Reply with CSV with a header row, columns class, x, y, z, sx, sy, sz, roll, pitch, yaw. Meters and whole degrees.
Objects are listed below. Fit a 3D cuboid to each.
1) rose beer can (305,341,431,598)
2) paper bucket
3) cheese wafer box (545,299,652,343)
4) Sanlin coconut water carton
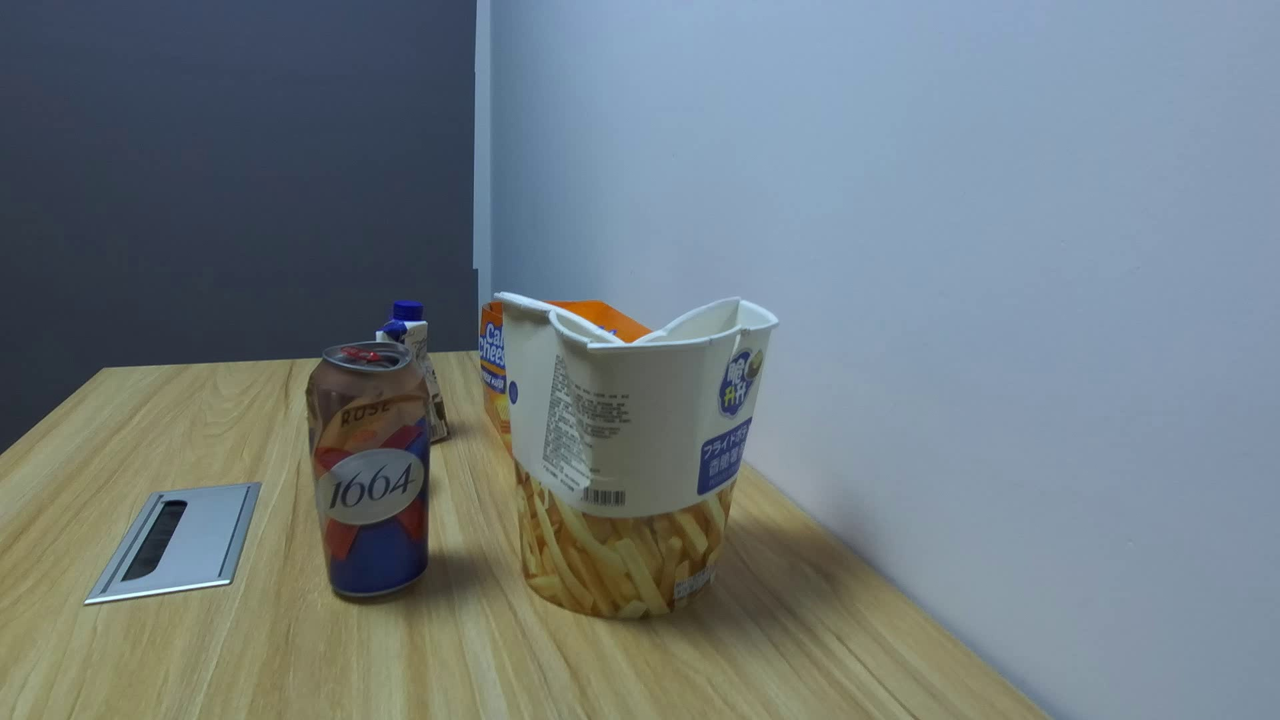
class,x,y,z,sx,sy,sz,roll,pitch,yaw
rose beer can,-0.178,0.075,0.470,0.076,0.167,0.065,-5,19,-34
paper bucket,-0.001,0.056,0.507,0.163,0.202,0.168,-5,20,-30
cheese wafer box,-0.076,0.021,0.757,0.153,0.132,0.229,-6,20,-24
Sanlin coconut water carton,-0.242,0.015,0.720,0.056,0.145,0.069,3,20,39
